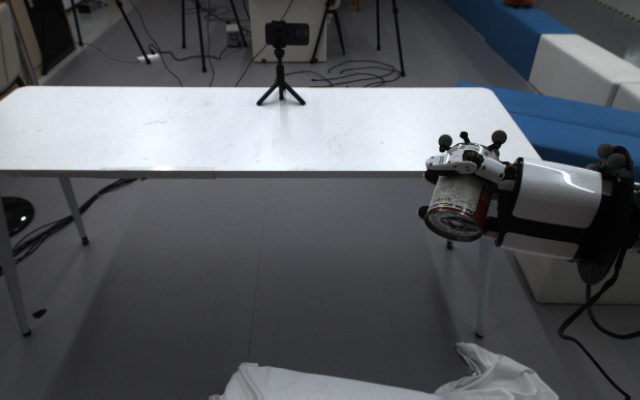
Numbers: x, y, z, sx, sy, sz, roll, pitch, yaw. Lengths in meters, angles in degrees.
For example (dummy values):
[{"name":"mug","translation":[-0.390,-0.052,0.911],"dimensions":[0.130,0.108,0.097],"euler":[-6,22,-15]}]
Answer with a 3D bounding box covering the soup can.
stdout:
[{"name":"soup can","translation":[0.173,-0.014,0.585],"dimensions":[0.067,0.067,0.101],"euler":[15,63,18]}]
